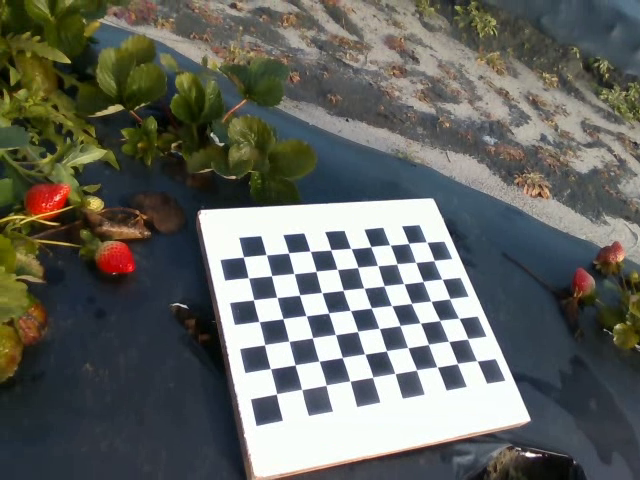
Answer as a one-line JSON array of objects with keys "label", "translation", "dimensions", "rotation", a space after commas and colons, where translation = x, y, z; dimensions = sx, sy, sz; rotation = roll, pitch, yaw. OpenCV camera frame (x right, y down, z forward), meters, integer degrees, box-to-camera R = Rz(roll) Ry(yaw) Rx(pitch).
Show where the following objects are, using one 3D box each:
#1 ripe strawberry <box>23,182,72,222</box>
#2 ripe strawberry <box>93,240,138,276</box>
[{"label": "ripe strawberry", "translation": [-0.254, -0.041, 0.594], "dimensions": [0.048, 0.040, 0.031], "rotation": [-35, -22, 9]}, {"label": "ripe strawberry", "translation": [-0.187, 0.018, 0.582], "dimensions": [0.043, 0.030, 0.035], "rotation": [37, 51, 11]}]
